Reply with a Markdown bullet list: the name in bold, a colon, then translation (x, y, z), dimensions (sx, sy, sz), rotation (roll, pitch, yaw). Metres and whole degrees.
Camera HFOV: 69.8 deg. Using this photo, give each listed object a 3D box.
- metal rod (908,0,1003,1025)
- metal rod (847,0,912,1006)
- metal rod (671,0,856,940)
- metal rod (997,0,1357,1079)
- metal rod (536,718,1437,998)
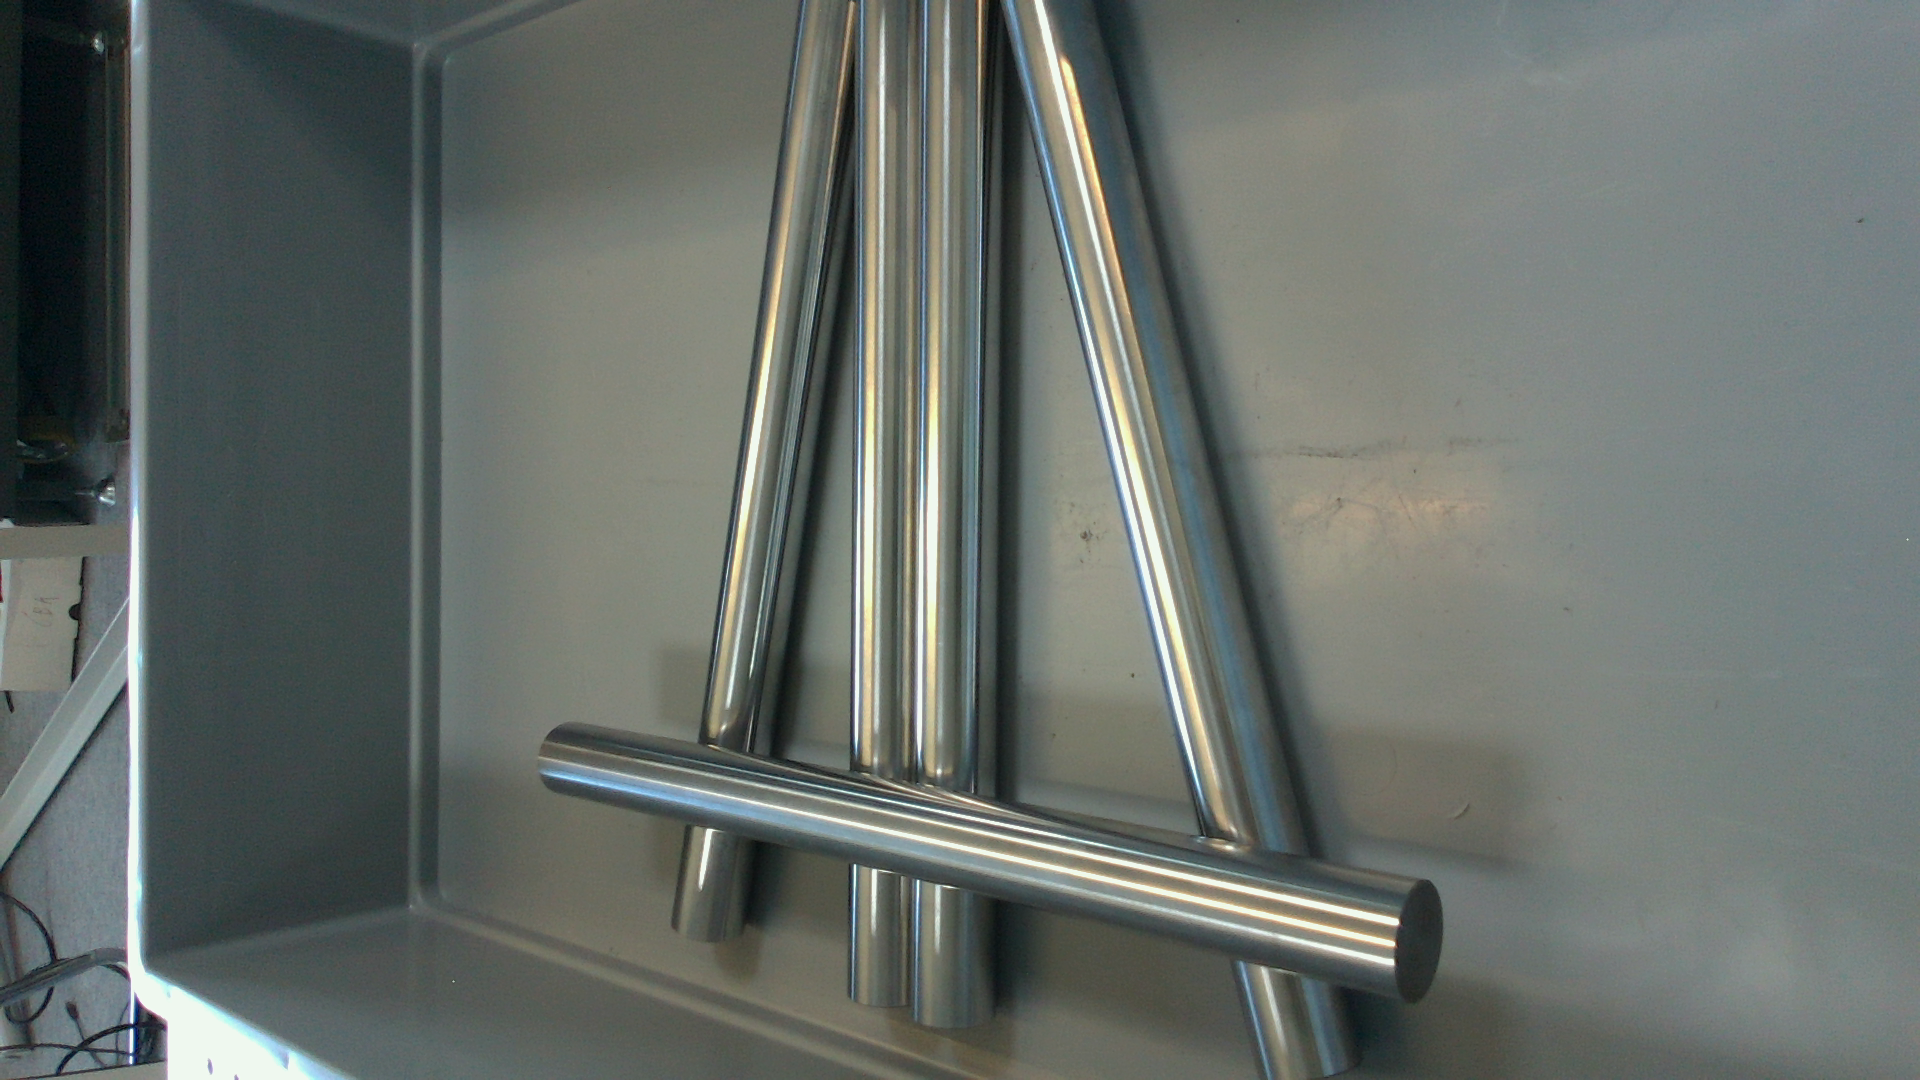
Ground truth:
- **metal rod**: translation (-0.001, -0.015, 0.395), dimensions (0.025, 0.025, 0.300), rotation (1, 91, 40)
- **metal rod**: translation (-0.020, -0.015, 0.410), dimensions (0.025, 0.025, 0.300), rotation (1, 91, 40)
- **metal rod**: translation (-0.061, -0.017, 0.446), dimensions (0.025, 0.025, 0.300), rotation (16, 100, 39)
- **metal rod**: translation (0.050, -0.020, 0.352), dimensions (0.025, 0.025, 0.300), rotation (-20, 77, 38)
- **metal rod**: translation (-0.021, 0.077, 0.378), dimensions (0.299, 0.025, 0.025), rotation (2, 91, 40)
